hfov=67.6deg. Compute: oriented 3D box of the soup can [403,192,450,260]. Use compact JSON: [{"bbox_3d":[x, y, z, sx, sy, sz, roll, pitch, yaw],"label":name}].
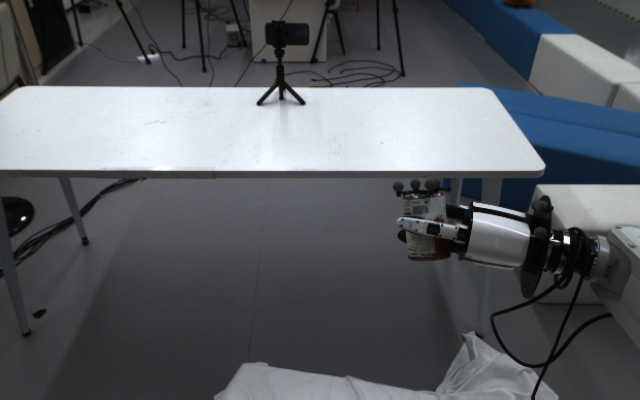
[{"bbox_3d":[0.170,0.041,0.769,0.067,0.101,0.067,-6,3,0],"label":"soup can"}]
